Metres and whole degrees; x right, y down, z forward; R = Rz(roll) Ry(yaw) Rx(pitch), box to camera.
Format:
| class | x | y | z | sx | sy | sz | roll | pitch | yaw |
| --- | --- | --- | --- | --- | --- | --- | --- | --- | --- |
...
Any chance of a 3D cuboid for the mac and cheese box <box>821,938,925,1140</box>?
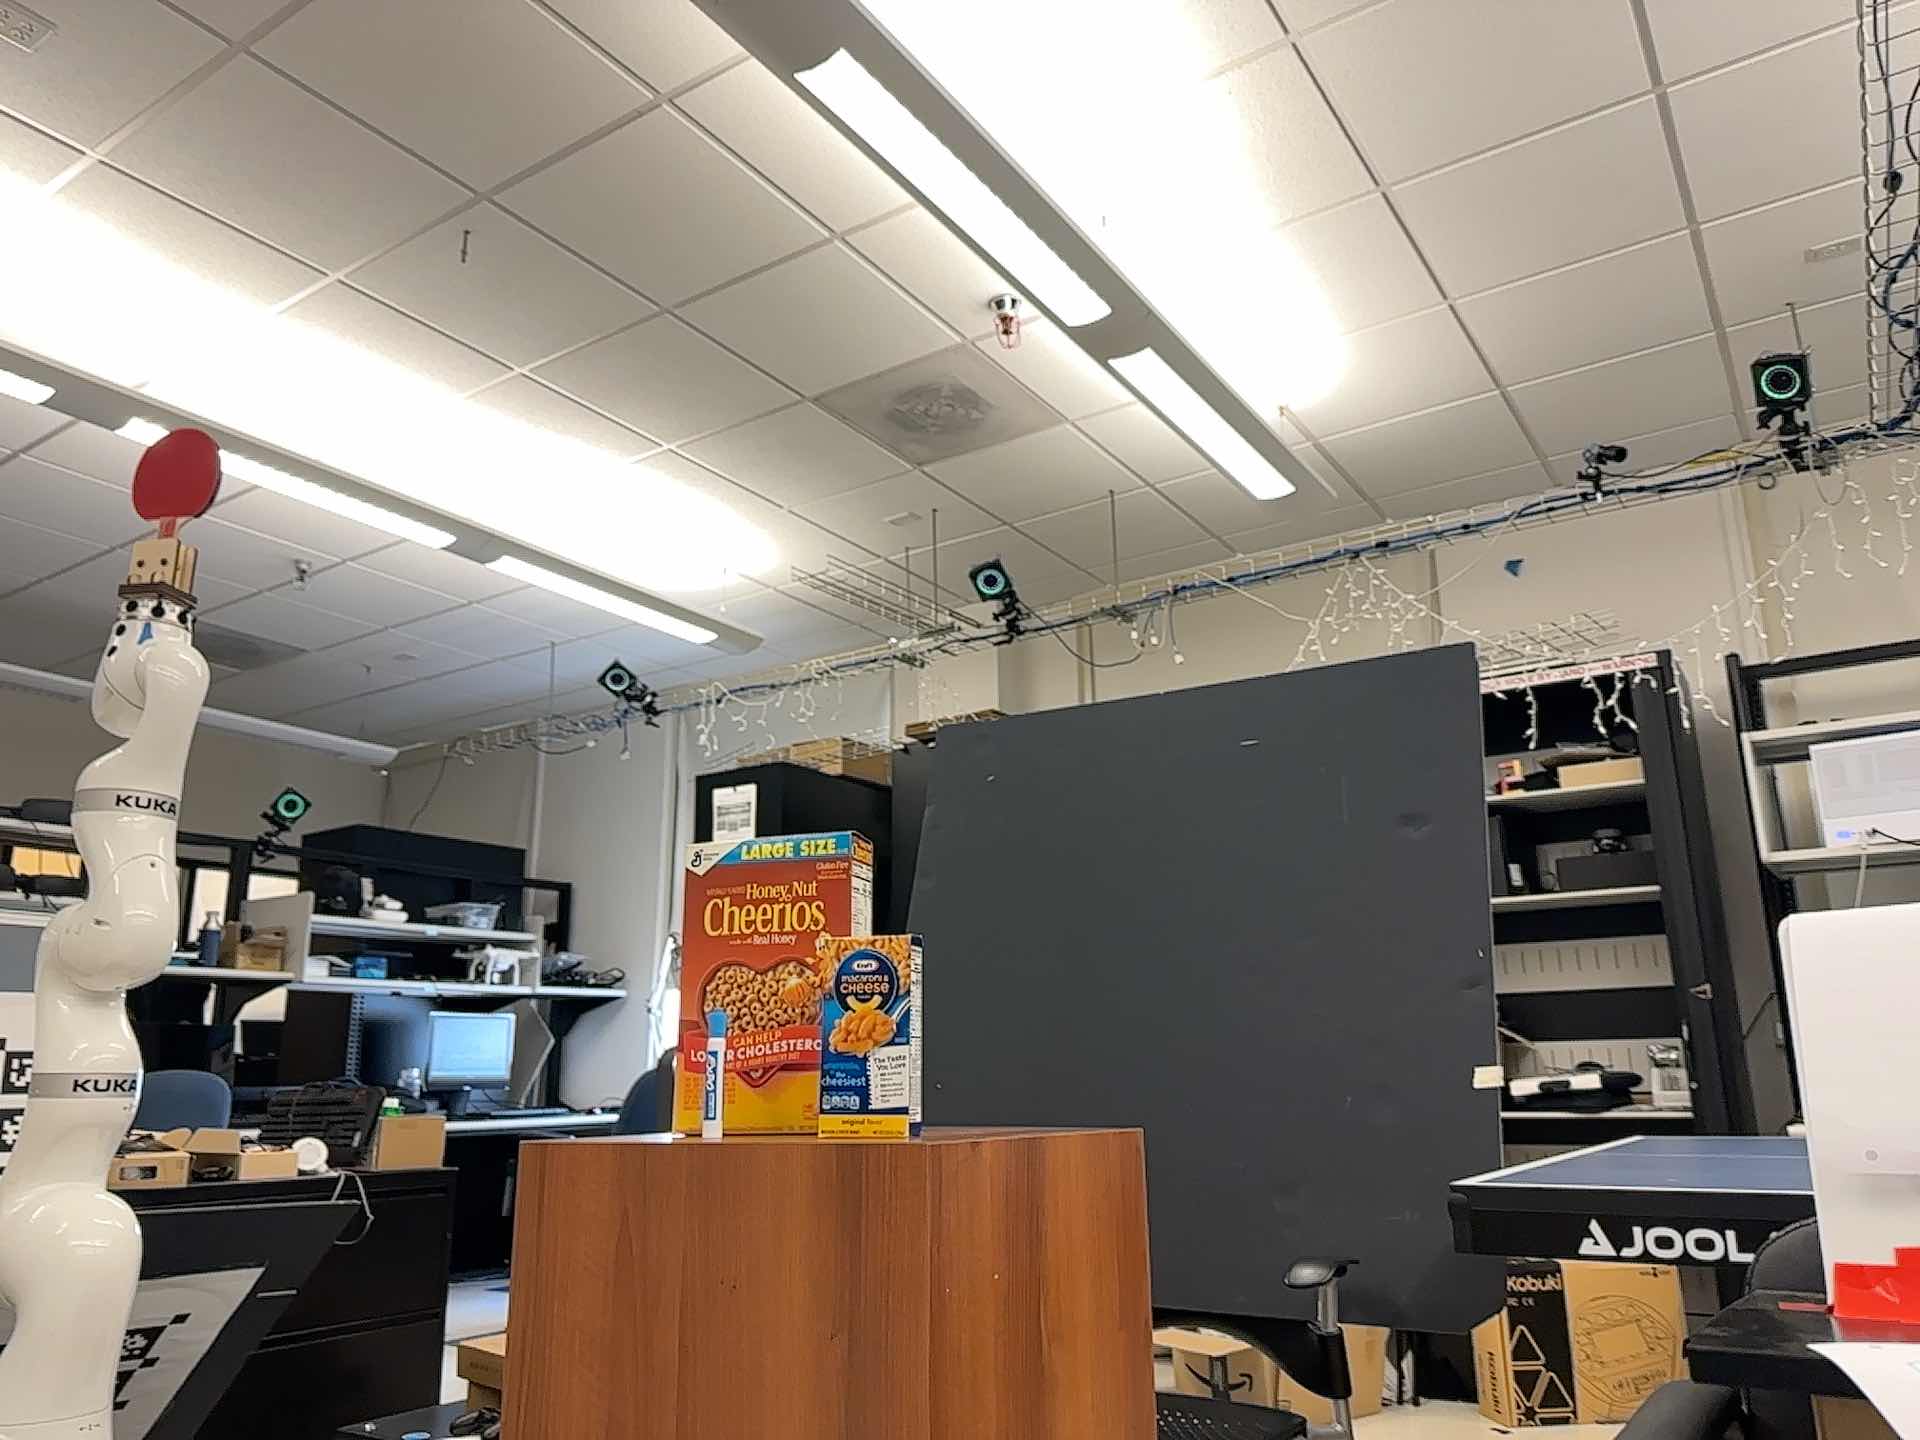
| class | x | y | z | sx | sy | sz | roll | pitch | yaw |
| --- | --- | --- | --- | --- | --- | --- | --- | --- | --- |
| mac and cheese box | -0.082 | 0.302 | 1.280 | 0.088 | 0.181 | 0.035 | -8 | -17 | 27 |

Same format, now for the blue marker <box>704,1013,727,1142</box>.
| class | x | y | z | sx | sy | sz | roll | pitch | yaw |
| --- | --- | --- | --- | --- | --- | --- | --- | --- | --- |
| blue marker | -0.240 | 0.349 | 1.321 | 0.020 | 0.121 | 0.020 | -1 | -14 | 0 |

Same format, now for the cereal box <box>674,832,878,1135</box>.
| class | x | y | z | sx | sy | sz | roll | pitch | yaw |
| --- | --- | --- | --- | --- | --- | --- | --- | --- | --- |
| cereal box | -0.194 | 0.280 | 1.430 | 0.195 | 0.297 | 0.065 | -6 | -16 | 21 |
